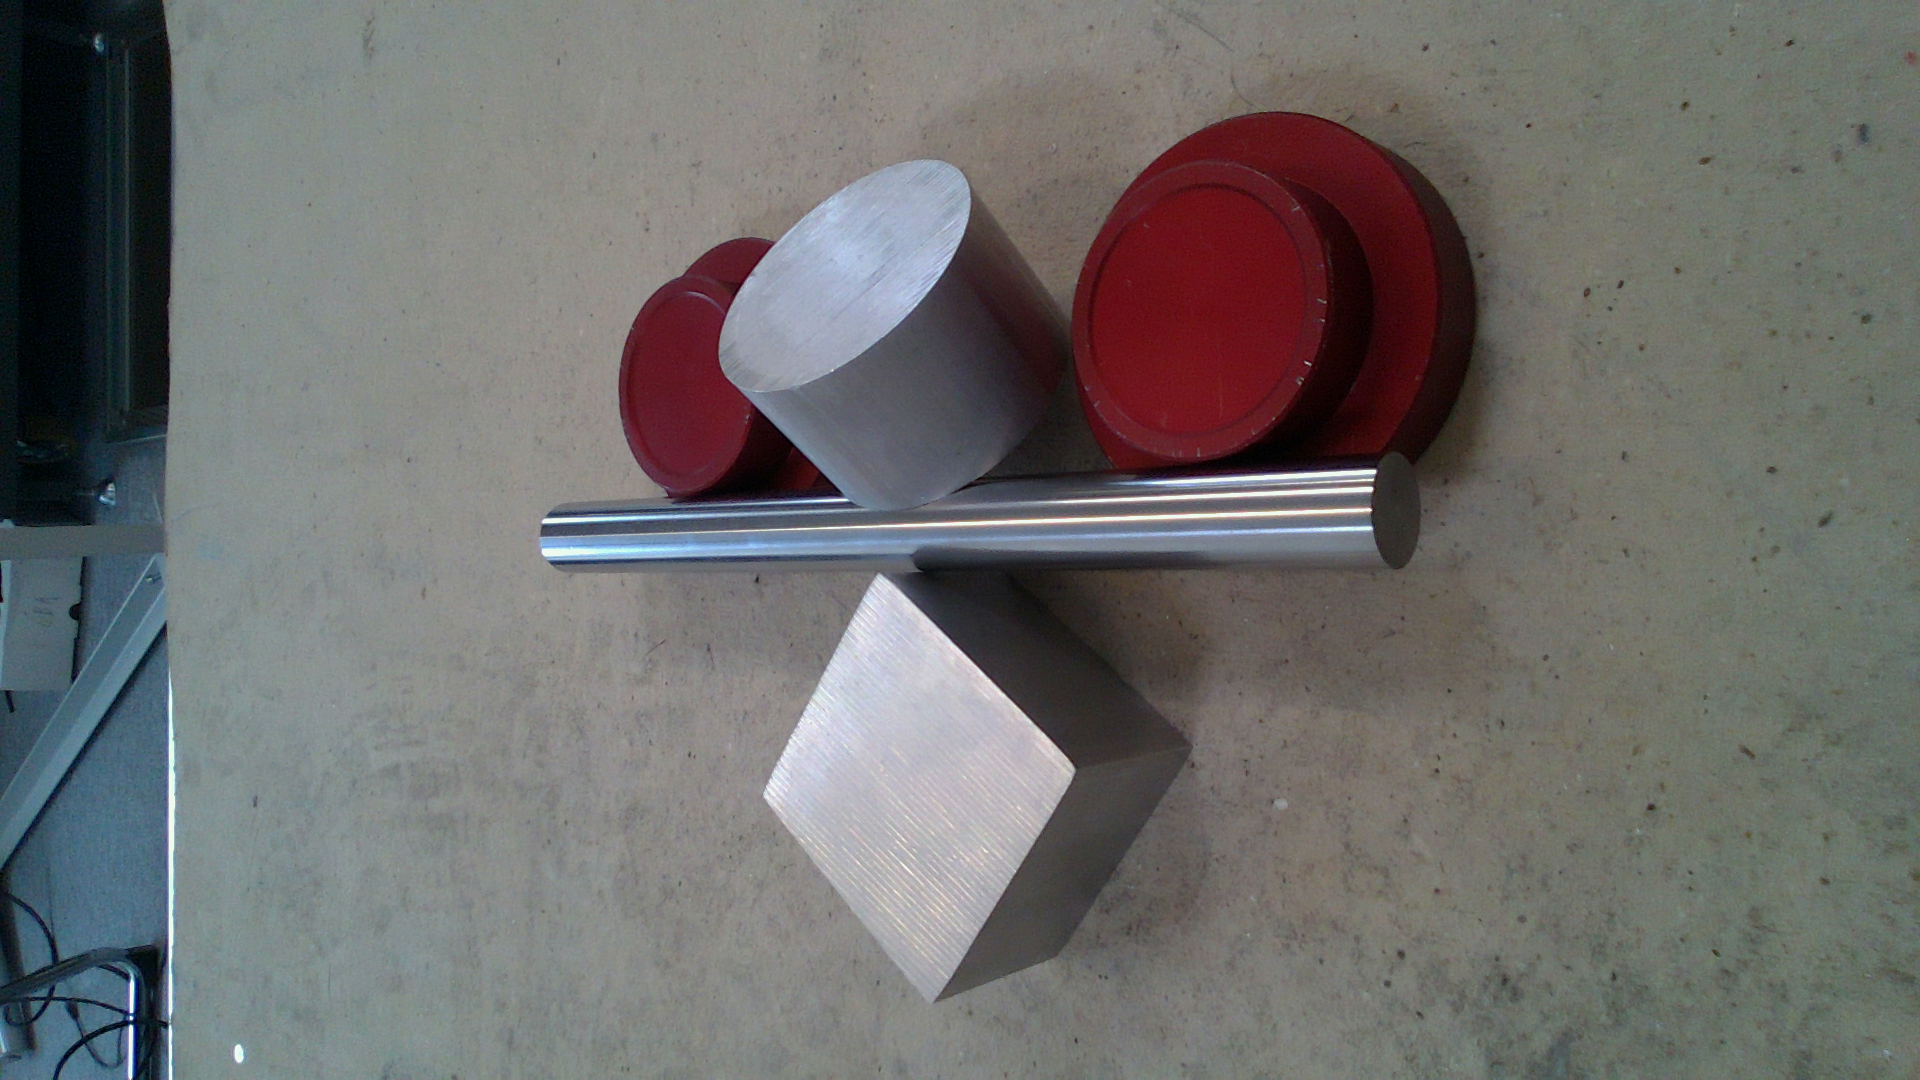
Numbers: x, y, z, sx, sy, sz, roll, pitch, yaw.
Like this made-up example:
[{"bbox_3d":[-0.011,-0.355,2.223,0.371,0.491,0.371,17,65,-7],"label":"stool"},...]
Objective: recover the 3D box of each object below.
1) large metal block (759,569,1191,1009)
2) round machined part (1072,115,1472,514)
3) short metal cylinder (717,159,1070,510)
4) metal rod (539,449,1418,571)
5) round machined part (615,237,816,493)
[{"bbox_3d":[0.001,0.063,0.375,0.080,0.050,0.080,43,116,32],"label":"large metal block"},{"bbox_3d":[0.066,-0.052,0.328,0.098,0.042,0.098,0,90,40],"label":"round machined part"},{"bbox_3d":[-0.018,-0.055,0.369,0.080,0.050,0.080,-23,42,23],"label":"short metal cylinder"},{"bbox_3d":[-0.022,-0.004,0.386,0.299,0.025,0.025,-1,89,40],"label":"metal rod"},{"bbox_3d":[-0.074,-0.049,0.446,0.098,0.042,0.098,0,90,40],"label":"round machined part"}]
